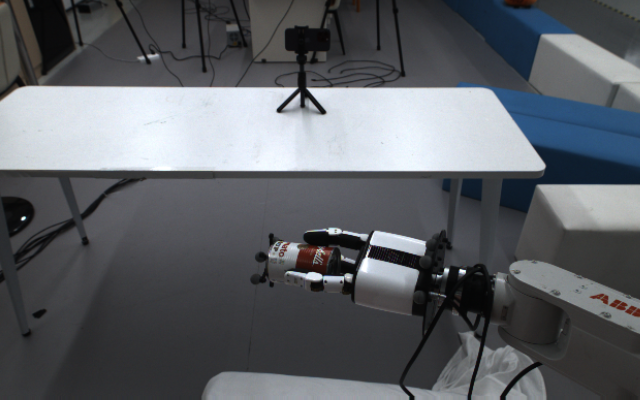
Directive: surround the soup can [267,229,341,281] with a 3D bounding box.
[{"bbox_3d":[-0.023,0.102,0.750,0.101,0.067,0.067,5,34,18],"label":"soup can"}]
